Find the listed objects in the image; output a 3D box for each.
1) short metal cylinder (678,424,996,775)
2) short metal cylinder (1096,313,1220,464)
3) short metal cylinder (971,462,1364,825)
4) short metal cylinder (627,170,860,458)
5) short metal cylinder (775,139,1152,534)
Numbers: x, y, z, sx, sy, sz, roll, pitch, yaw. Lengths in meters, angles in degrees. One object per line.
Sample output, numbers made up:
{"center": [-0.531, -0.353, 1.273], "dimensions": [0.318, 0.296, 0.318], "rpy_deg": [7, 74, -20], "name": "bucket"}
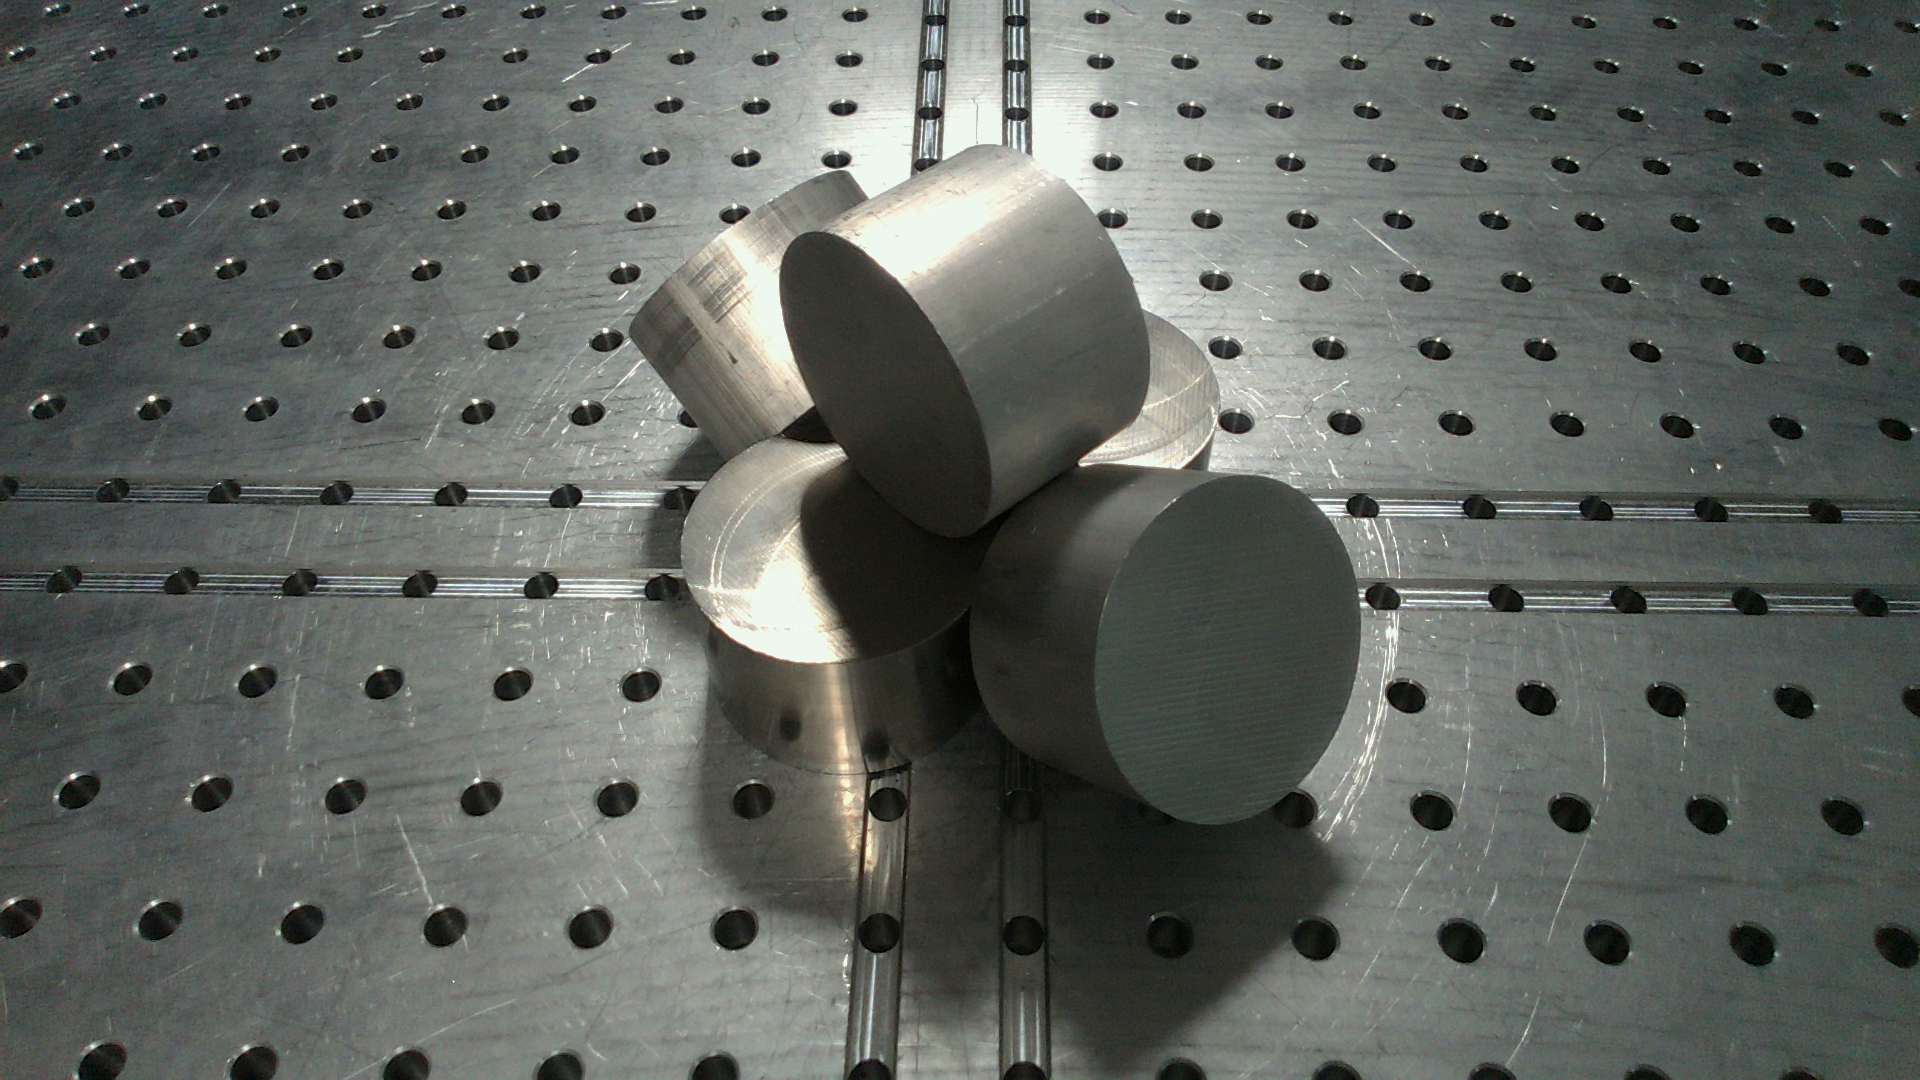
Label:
{"center": [-0.031, 0.015, 0.365], "dimensions": [0.080, 0.050, 0.080], "rpy_deg": [0, 50, 0], "name": "short metal cylinder"}
{"center": [0.032, -0.026, 0.399], "dimensions": [0.080, 0.050, 0.080], "rpy_deg": [0, 50, 0], "name": "short metal cylinder"}
{"center": [0.050, 0.022, 0.330], "dimensions": [0.080, 0.080, 0.050], "rpy_deg": [-33, 22, -25], "name": "short metal cylinder"}
{"center": [-0.049, -0.062, 0.402], "dimensions": [0.080, 0.080, 0.050], "rpy_deg": [-39, 94, -28], "name": "short metal cylinder"}
{"center": [0.000, -0.049, 0.332], "dimensions": [0.050, 0.080, 0.080], "rpy_deg": [-34, 58, -25], "name": "short metal cylinder"}
